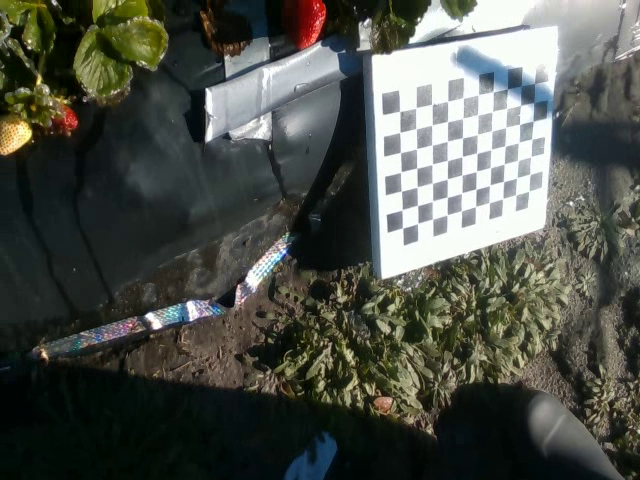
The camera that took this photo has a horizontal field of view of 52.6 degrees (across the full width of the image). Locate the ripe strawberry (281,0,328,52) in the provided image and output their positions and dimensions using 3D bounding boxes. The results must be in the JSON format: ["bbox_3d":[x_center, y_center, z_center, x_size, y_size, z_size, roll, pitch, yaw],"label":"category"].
[{"bbox_3d":[-0.011,-0.230,0.700,0.061,0.065,0.057,20,-38,-37],"label":"ripe strawberry"}]
